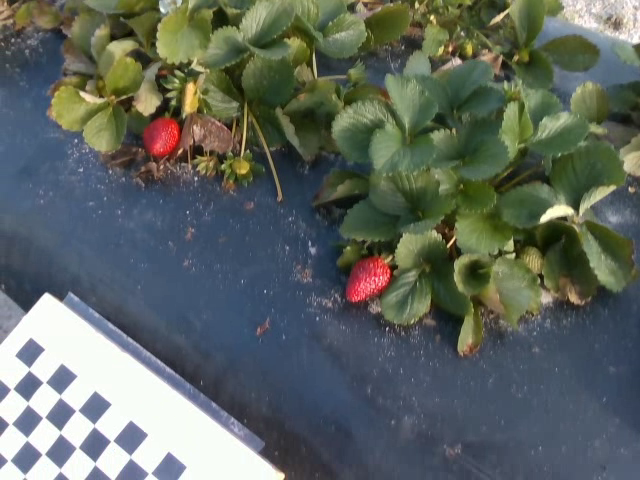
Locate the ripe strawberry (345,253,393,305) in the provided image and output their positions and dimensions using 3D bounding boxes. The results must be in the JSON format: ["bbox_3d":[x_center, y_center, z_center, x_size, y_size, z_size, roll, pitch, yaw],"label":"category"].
[{"bbox_3d":[0.025,0.024,0.400,0.029,0.036,0.021,30,-27,27],"label":"ripe strawberry"}]

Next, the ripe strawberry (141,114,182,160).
[{"bbox_3d":[-0.110,-0.068,0.464,0.032,0.026,0.030,-4,42,6],"label":"ripe strawberry"}]
